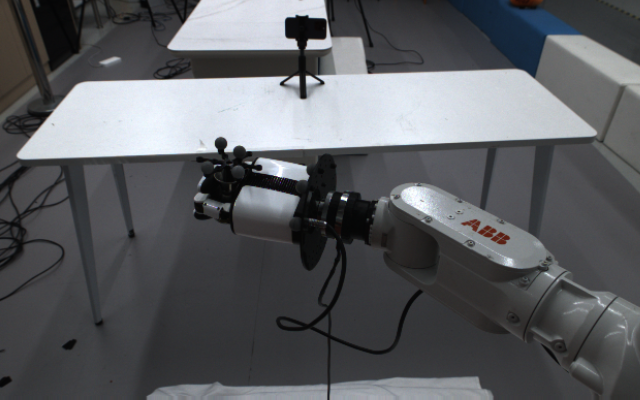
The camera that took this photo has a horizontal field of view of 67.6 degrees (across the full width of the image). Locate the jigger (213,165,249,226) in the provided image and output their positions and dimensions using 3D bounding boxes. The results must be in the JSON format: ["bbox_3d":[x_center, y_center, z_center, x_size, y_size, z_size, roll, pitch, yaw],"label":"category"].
[{"bbox_3d":[-0.126,-0.005,0.679,0.043,0.071,0.043,6,32,-4],"label":"jigger"}]
